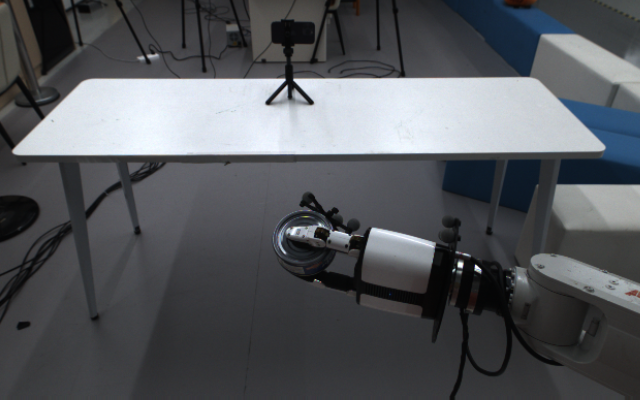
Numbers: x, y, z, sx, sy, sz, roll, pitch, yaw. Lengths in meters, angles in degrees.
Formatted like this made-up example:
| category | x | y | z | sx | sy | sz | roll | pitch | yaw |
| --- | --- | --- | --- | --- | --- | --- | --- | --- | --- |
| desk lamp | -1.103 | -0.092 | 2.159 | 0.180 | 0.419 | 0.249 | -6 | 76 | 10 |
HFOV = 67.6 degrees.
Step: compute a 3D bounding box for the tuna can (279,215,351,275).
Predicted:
| category | x | y | z | sx | sy | sz | roll | pitch | yaw |
| --- | --- | --- | --- | --- | --- | --- | --- | --- | --- |
| tuna can | -0.017 | 0.063 | 0.650 | 0.085 | 0.034 | 0.085 | -4 | 57 | 6 |
